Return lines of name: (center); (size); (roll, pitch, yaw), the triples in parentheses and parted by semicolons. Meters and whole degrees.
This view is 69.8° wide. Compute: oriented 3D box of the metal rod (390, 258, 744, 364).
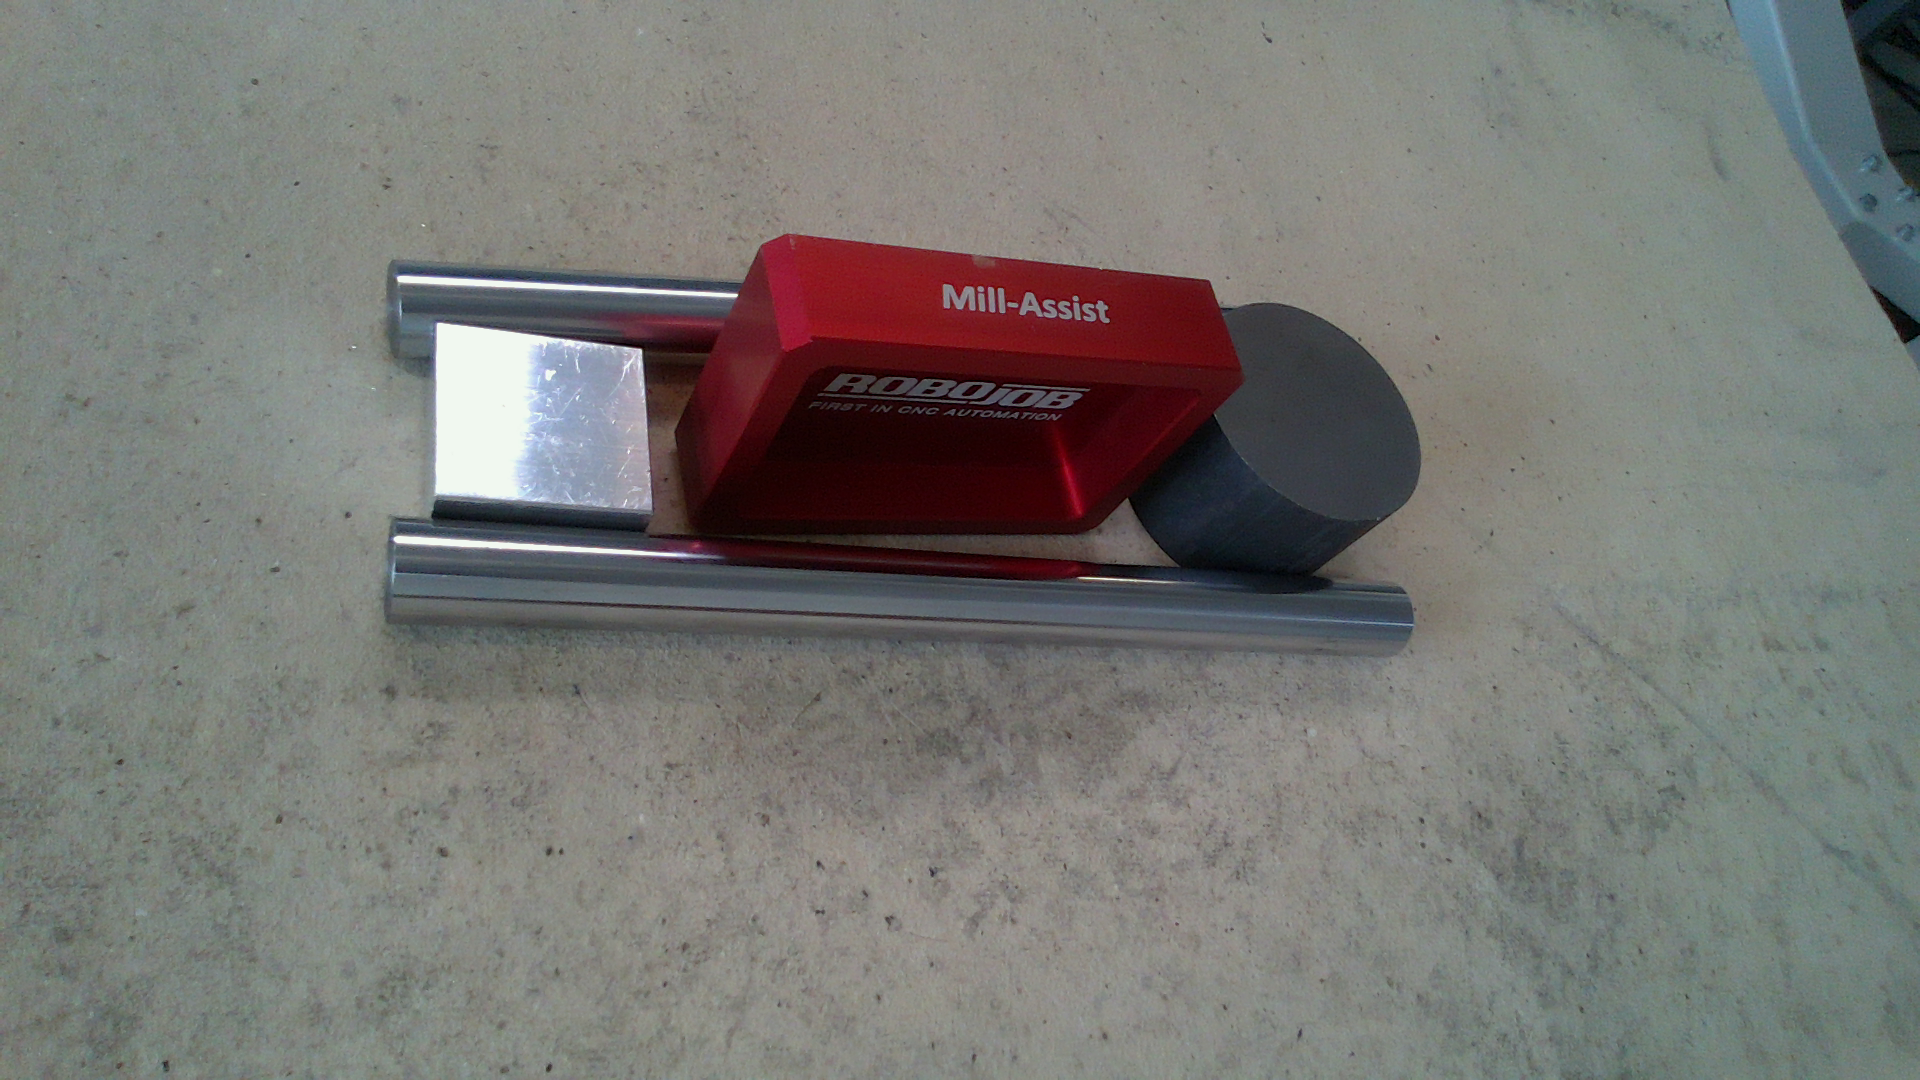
metal rod: (-0.012, -0.065, 0.423); (0.301, 0.025, 0.025); (-3, 63, -29)

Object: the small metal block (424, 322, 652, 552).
small metal block: (-0.107, -0.024, 0.348); (0.050, 0.025, 0.050); (4, 60, -26)

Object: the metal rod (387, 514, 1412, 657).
metal rod: (0.004, 0.016, 0.382); (0.301, 0.025, 0.025); (4, 60, -26)

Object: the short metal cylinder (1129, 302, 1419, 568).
short metal cylinder: (0.099, -0.029, 0.444); (0.080, 0.050, 0.080); (14, 56, -21)

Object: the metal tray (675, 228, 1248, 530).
metal tray: (-0.001, -0.037, 0.368); (0.130, 0.090, 0.030); (0, 62, -28)
